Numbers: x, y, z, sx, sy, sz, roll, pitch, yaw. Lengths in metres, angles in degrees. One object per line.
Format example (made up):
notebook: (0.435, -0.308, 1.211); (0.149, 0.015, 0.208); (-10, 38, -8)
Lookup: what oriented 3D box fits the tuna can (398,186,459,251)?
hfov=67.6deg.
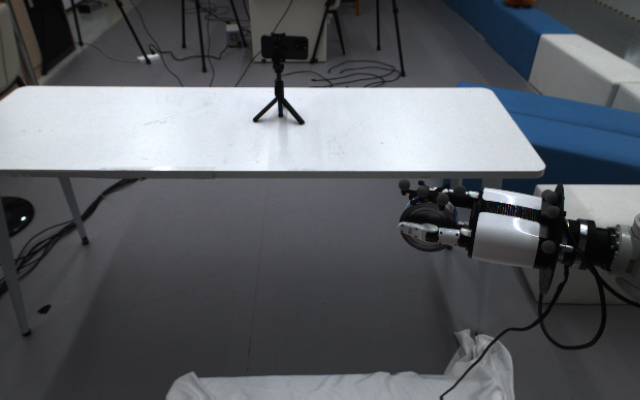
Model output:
tuna can: (0.167, 0.031, 0.734); (0.085, 0.085, 0.034); (13, 28, 16)
